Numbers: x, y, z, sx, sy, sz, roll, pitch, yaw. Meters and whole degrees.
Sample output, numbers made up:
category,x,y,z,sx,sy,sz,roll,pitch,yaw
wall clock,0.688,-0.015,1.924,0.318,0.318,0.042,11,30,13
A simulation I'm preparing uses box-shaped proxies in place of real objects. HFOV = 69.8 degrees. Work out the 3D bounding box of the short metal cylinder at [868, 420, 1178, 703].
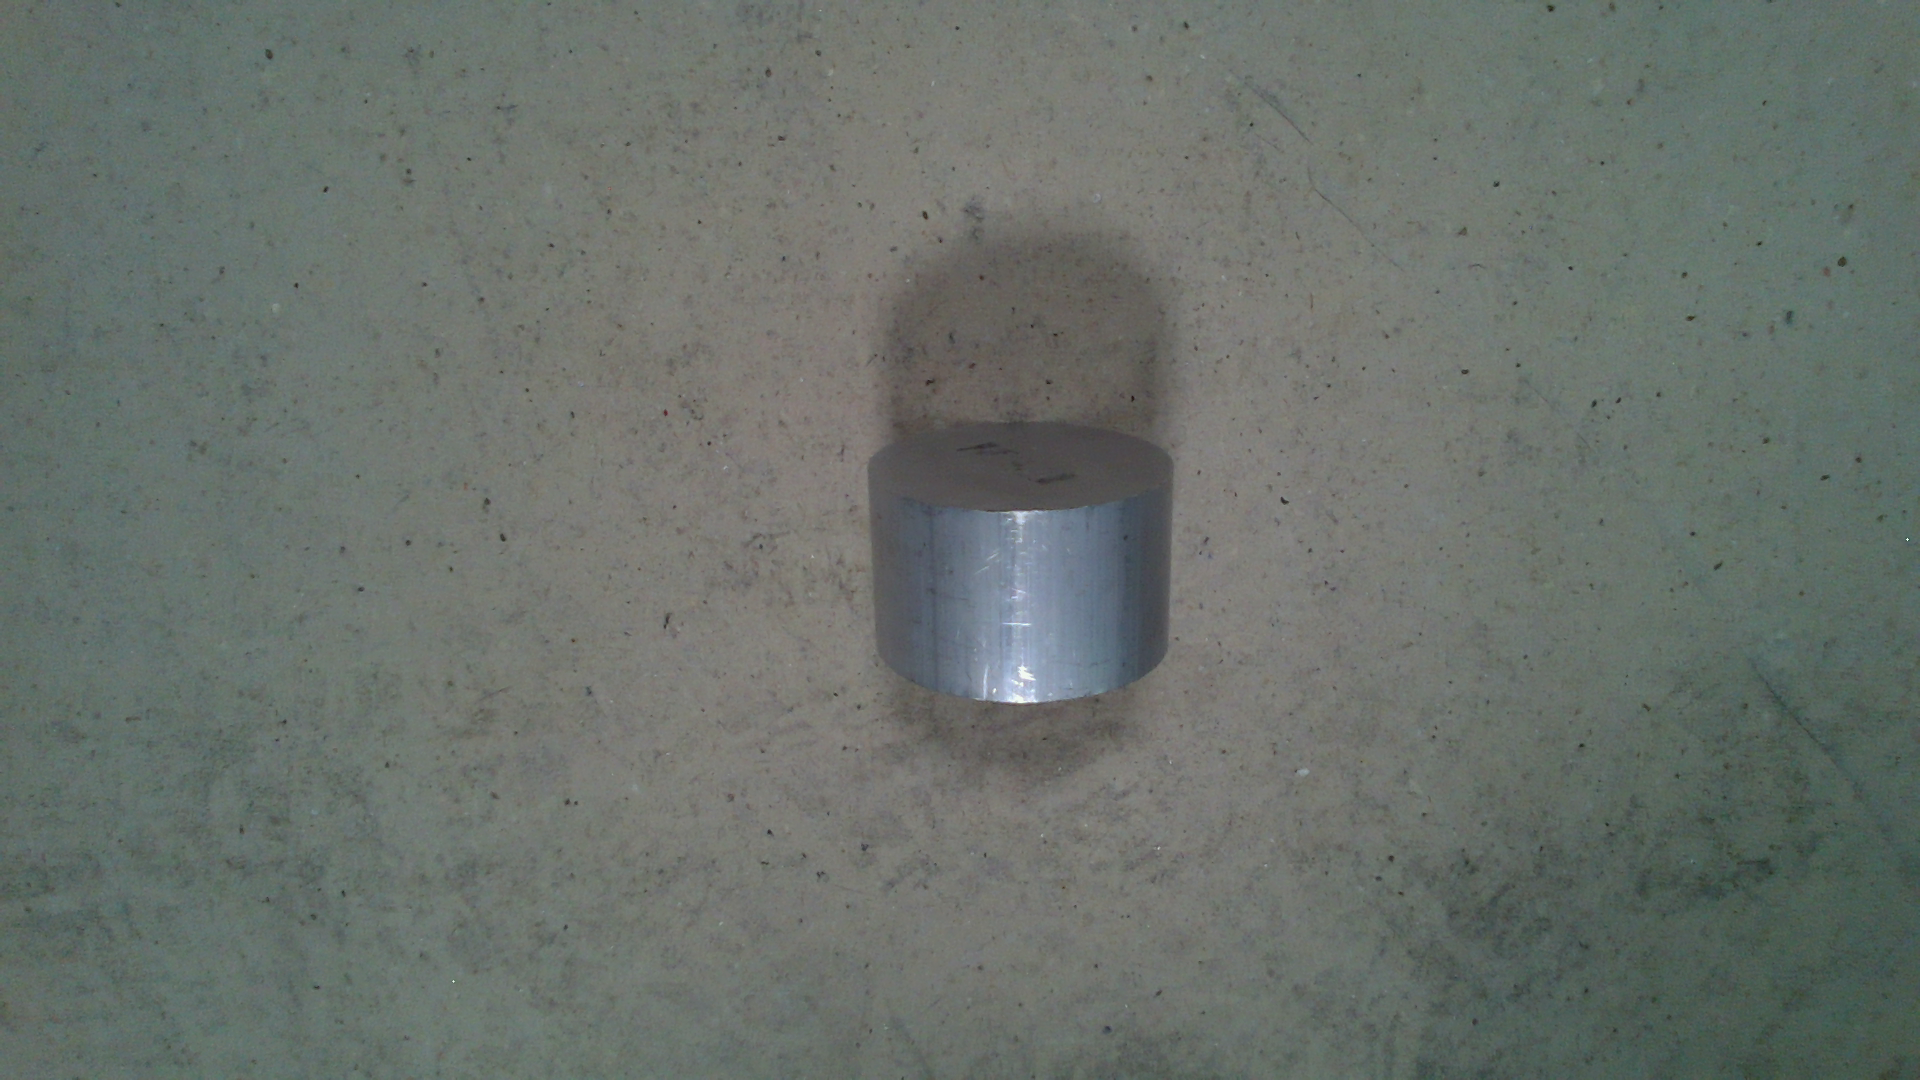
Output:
category,x,y,z,sx,sy,sz,roll,pitch,yaw
short metal cylinder,0.017,0.003,0.366,0.080,0.080,0.050,-1,110,0
